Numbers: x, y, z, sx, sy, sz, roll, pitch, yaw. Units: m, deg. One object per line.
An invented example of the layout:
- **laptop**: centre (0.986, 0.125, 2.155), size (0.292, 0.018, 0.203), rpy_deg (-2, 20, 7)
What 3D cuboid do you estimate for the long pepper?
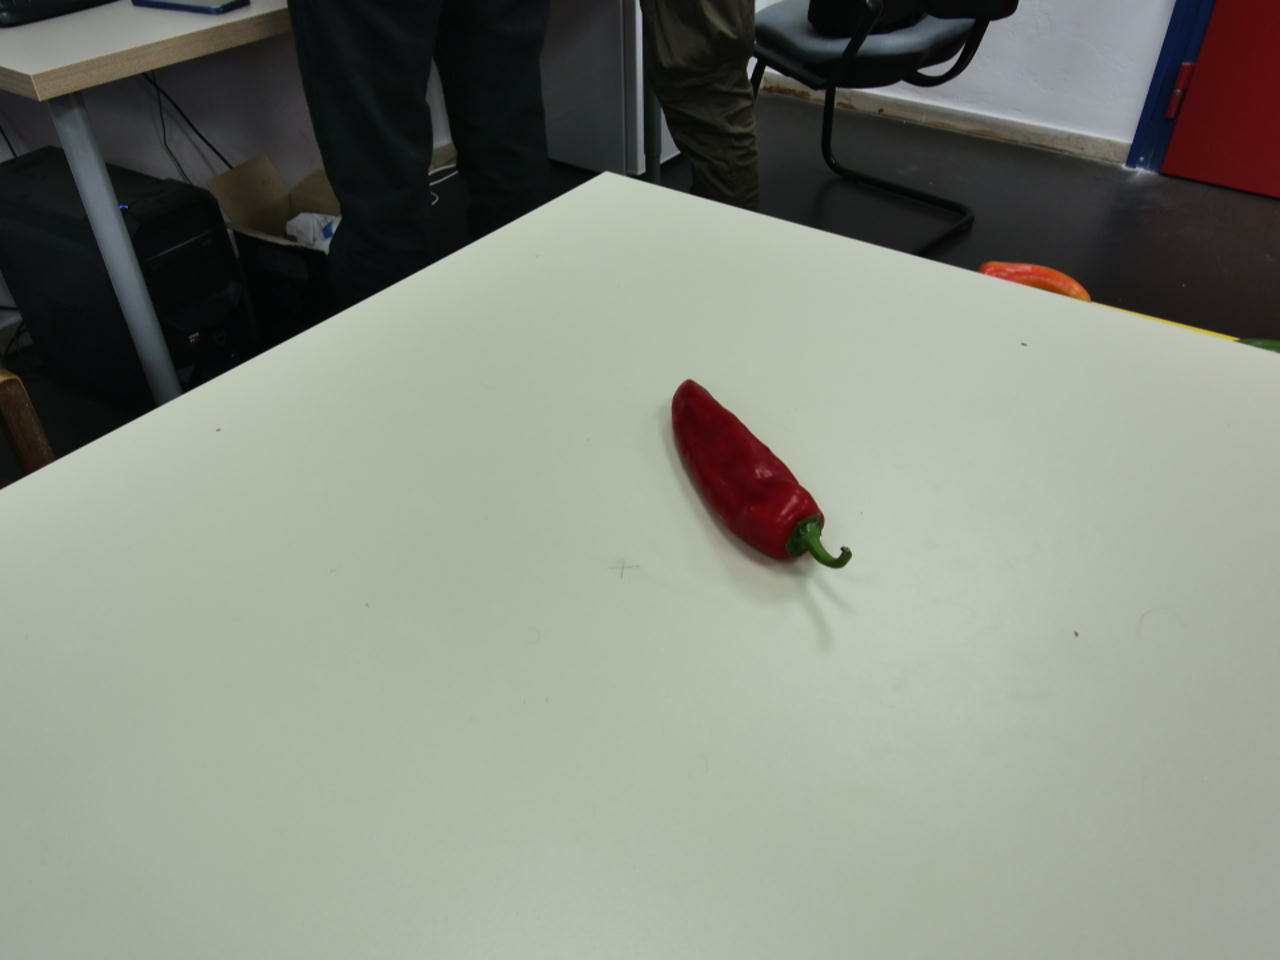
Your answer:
- **long pepper**: centre (0.061, -0.006, 0.601), size (0.050, 0.043, 0.211), rpy_deg (-13, 39, -16)
